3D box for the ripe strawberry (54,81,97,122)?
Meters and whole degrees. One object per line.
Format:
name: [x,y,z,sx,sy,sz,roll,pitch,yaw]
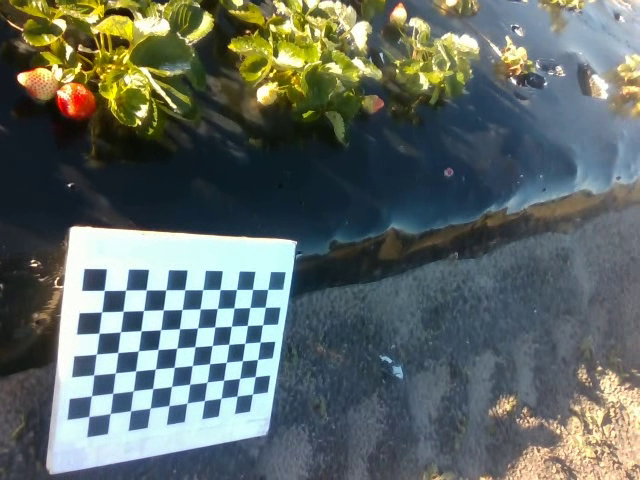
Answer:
ripe strawberry: [-0.237,-0.133,0.596,0.040,0.038,0.056,-9,20,-9]
